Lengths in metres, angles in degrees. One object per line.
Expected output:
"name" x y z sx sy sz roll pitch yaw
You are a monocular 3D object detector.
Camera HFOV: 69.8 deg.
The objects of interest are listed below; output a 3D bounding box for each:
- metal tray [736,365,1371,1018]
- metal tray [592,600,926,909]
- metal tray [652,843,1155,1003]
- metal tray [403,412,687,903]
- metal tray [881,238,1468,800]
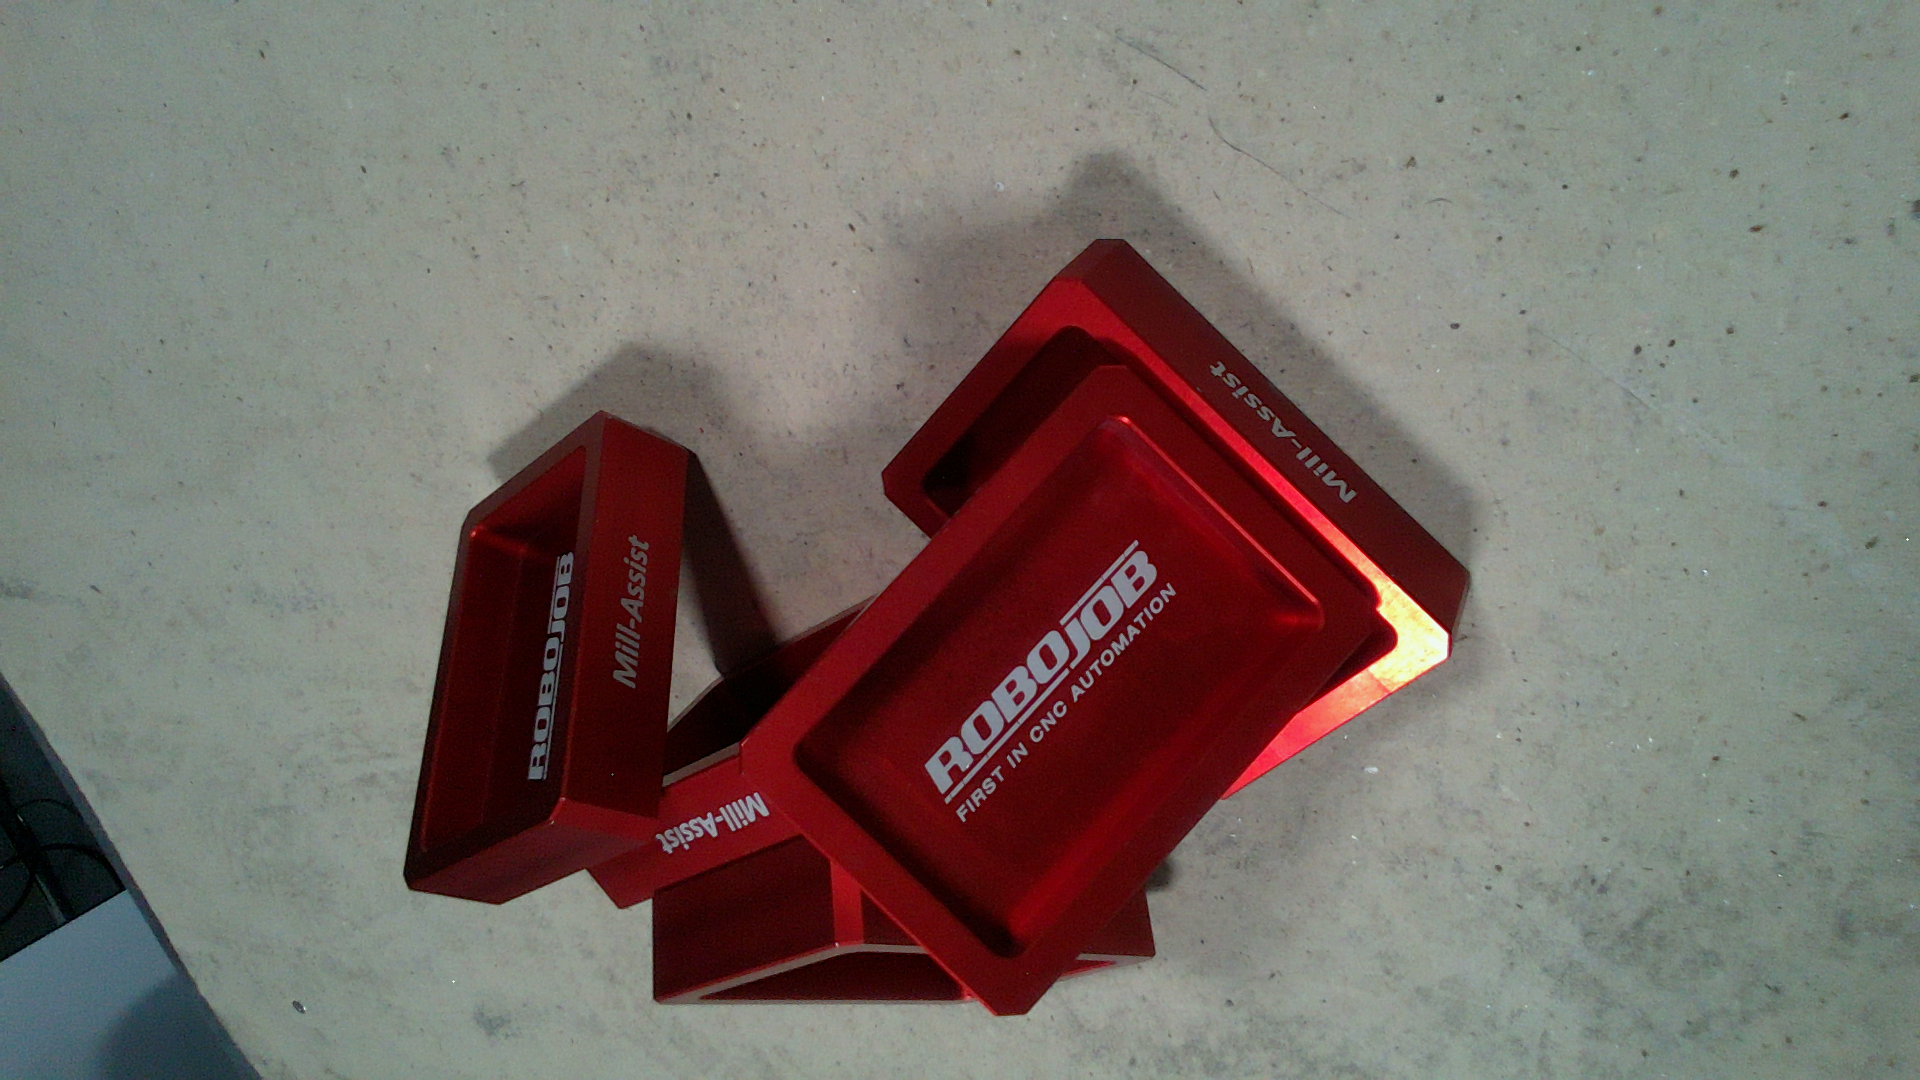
"metal tray" 0.022 0.034 0.330 0.090 0.030 0.130 44 85 -3
"metal tray" -0.050 0.057 0.413 0.130 0.090 0.030 -28 103 37
"metal tray" -0.015 0.118 0.418 0.131 0.030 0.090 18 146 -42
"metal tray" -0.126 0.036 0.422 0.030 0.130 0.090 25 141 -39
"metal tray" 0.053 -0.002 0.360 0.130 0.030 0.090 43 129 -2
